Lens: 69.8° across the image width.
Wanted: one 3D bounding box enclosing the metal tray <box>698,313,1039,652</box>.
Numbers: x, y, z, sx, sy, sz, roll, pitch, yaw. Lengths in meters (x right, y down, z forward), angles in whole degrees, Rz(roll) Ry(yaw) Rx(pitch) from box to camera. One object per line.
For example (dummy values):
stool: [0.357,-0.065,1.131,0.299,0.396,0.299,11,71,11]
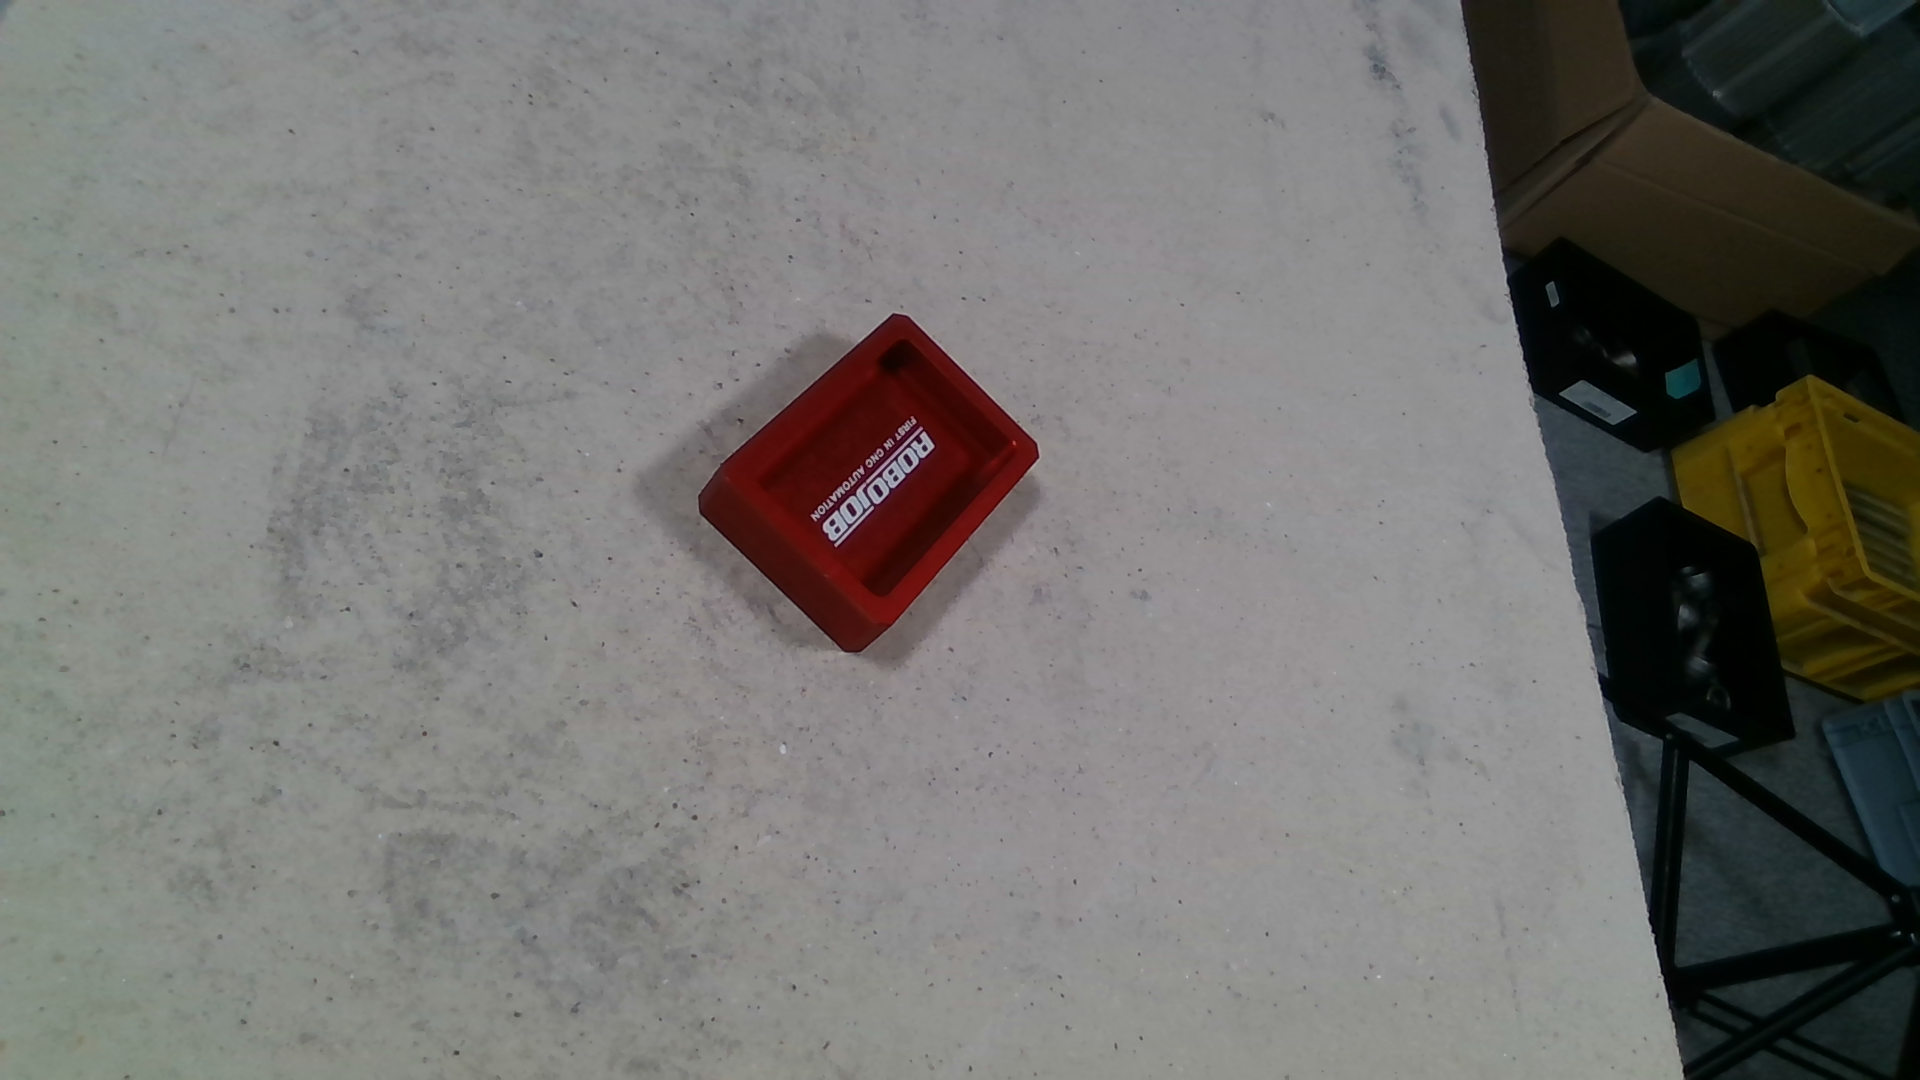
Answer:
metal tray: [-0.035,-0.027,0.576,0.090,0.030,0.130,44,51,-4]
